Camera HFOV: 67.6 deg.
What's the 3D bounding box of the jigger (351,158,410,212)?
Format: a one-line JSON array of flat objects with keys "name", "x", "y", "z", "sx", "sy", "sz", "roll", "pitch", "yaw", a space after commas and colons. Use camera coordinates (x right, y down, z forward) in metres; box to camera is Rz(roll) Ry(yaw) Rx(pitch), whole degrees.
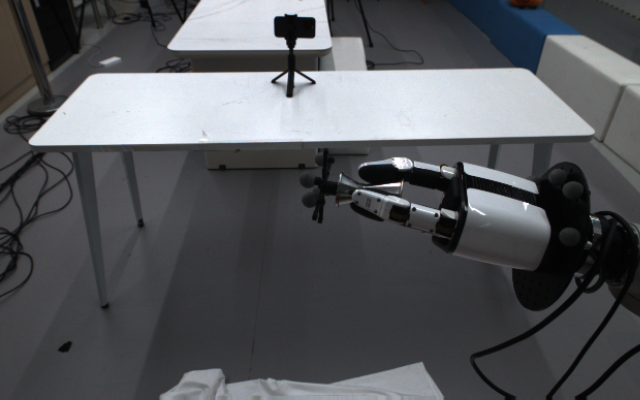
[{"name": "jigger", "x": 0.061, "y": -0.012, "z": 0.528, "sx": 0.071, "sy": 0.043, "sz": 0.043, "roll": 7, "pitch": 35, "yaw": 9}]
